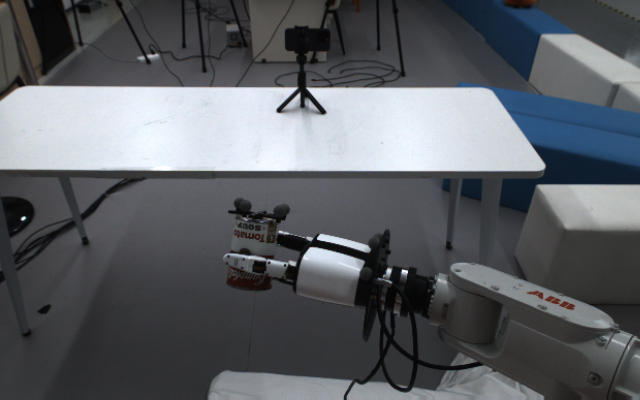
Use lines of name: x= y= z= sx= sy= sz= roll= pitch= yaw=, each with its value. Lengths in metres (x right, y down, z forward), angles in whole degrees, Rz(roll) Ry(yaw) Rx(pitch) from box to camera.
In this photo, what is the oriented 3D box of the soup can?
soup can: x=-0.097 y=0.077 z=0.712 sx=0.067 sy=0.101 sz=0.067 roll=7 pitch=4 yaw=0
